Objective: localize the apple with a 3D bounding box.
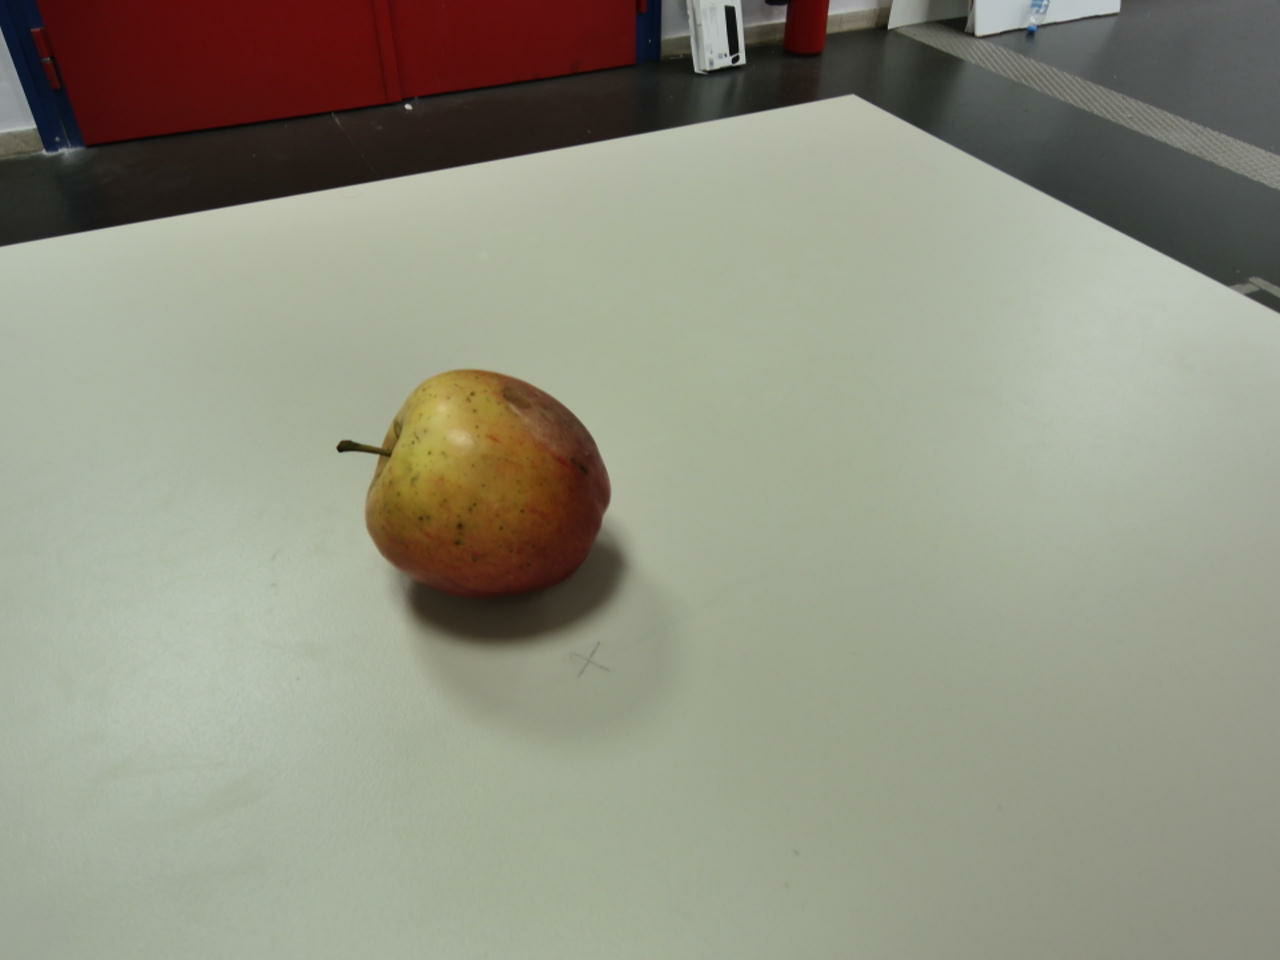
[{"bbox_3d":[-0.059,0.002,0.375,0.093,0.084,0.086,18,41,21],"label":"apple"}]
